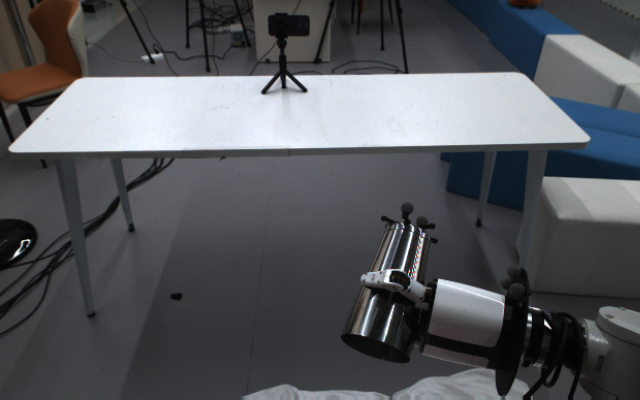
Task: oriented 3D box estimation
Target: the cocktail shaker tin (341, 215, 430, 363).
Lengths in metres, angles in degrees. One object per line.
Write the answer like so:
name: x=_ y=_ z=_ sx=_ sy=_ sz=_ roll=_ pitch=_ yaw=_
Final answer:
cocktail shaker tin: x=0.095 y=0.120 z=0.650 sx=0.093 sy=0.093 sz=0.170 roll=15 pitch=61 yaw=18
